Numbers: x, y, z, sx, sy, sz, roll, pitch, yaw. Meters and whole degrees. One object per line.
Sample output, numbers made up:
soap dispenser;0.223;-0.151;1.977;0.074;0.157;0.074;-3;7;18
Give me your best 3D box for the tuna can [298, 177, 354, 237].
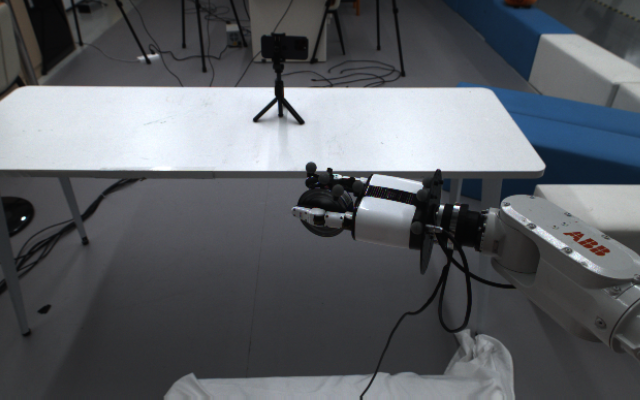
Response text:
tuna can;0.011;0.012;0.766;0.085;0.085;0.034;16;29;19
